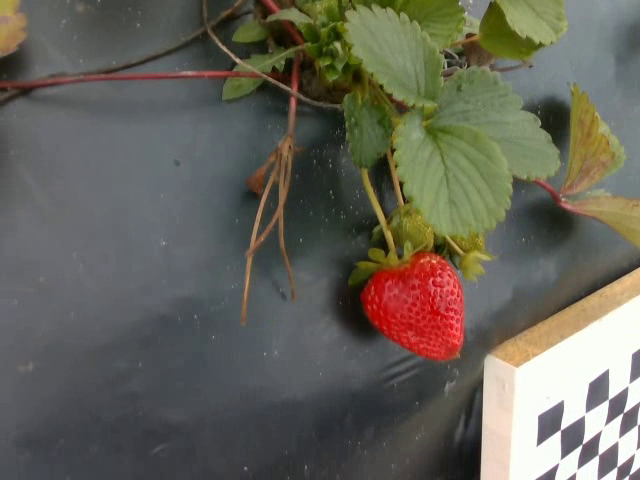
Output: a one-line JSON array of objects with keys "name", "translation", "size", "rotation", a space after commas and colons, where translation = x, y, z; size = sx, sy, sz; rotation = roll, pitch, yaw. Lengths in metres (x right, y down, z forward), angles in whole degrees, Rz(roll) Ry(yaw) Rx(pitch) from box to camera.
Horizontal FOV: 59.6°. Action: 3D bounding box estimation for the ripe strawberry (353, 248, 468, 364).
[{"name": "ripe strawberry", "translation": [0.014, 0.009, 0.073], "size": [0.018, 0.017, 0.014], "rotation": [-17, -20, -43]}]
